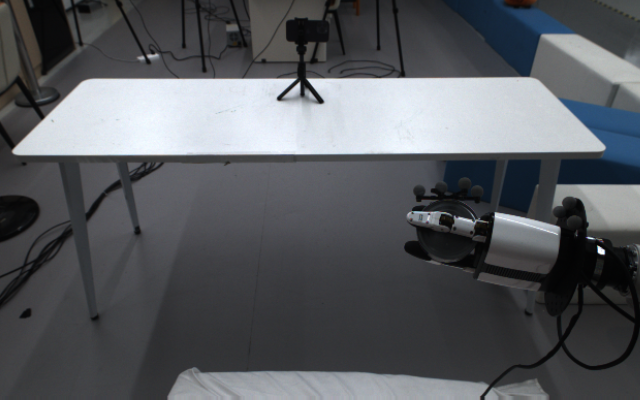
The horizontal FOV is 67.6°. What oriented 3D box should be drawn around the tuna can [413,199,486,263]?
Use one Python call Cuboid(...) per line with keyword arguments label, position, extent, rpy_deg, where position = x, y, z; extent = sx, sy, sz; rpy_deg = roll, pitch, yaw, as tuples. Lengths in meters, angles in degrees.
Cuboid(label="tuna can", position=(0.180, 0.040, 0.676), extent=(0.085, 0.034, 0.085), rpy_deg=(-4, 72, 11))
